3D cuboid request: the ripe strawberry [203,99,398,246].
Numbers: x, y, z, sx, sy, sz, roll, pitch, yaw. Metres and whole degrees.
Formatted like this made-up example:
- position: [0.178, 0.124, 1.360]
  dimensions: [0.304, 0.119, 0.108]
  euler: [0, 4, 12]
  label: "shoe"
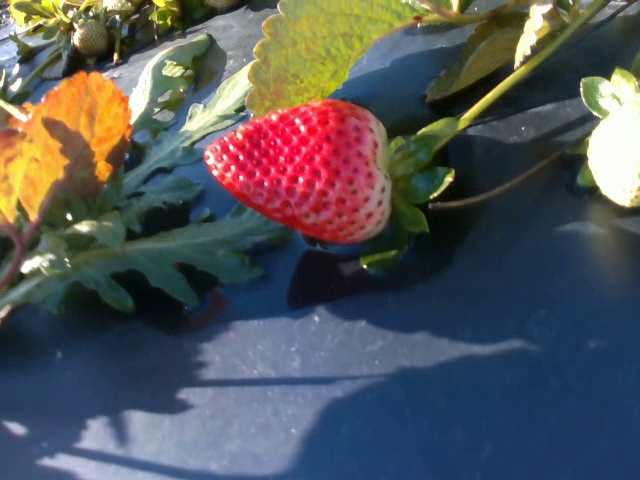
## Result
- position: [-0.005, -0.018, 0.136]
  dimensions: [0.053, 0.044, 0.036]
  euler: [1, -8, -4]
  label: "ripe strawberry"
